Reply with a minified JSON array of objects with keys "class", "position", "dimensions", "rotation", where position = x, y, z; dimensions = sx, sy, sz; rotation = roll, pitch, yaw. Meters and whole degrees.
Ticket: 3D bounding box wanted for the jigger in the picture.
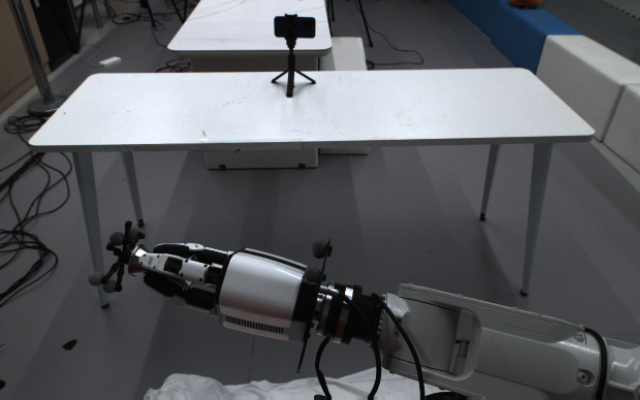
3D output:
[{"class":"jigger","position":[-0.180,0.077,0.577],"dimensions":[0.071,0.043,0.043],"rotation":[13,36,4]}]
